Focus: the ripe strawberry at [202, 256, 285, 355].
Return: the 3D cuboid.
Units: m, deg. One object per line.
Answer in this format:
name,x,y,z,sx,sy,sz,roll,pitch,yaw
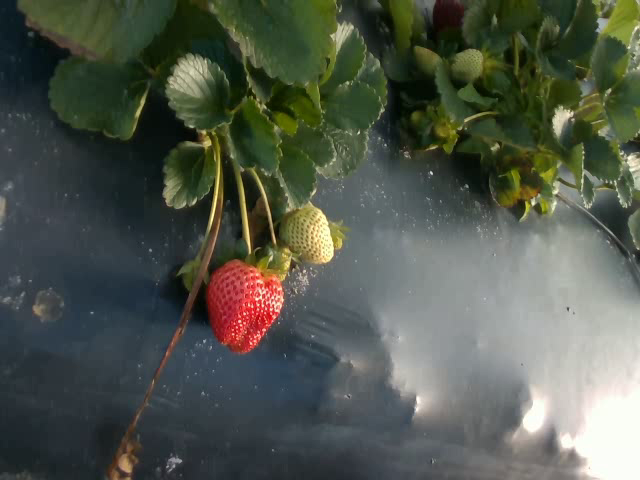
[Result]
ripe strawberry,-0.037,0.038,0.323,0.047,0.050,0.034,22,-9,-31
